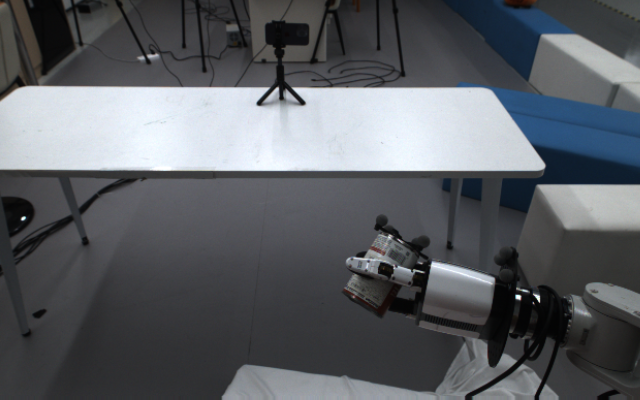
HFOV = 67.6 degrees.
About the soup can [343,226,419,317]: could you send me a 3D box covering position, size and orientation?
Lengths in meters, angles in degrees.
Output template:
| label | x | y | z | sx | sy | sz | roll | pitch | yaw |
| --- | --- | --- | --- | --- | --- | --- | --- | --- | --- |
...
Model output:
| label | x | y | z | sx | sy | sz | roll | pitch | yaw |
| --- | --- | --- | --- | --- | --- | --- | --- | --- | --- |
| soup can | 0.086 | 0.103 | 0.677 | 0.067 | 0.067 | 0.101 | 28 | 78 | 32 |
